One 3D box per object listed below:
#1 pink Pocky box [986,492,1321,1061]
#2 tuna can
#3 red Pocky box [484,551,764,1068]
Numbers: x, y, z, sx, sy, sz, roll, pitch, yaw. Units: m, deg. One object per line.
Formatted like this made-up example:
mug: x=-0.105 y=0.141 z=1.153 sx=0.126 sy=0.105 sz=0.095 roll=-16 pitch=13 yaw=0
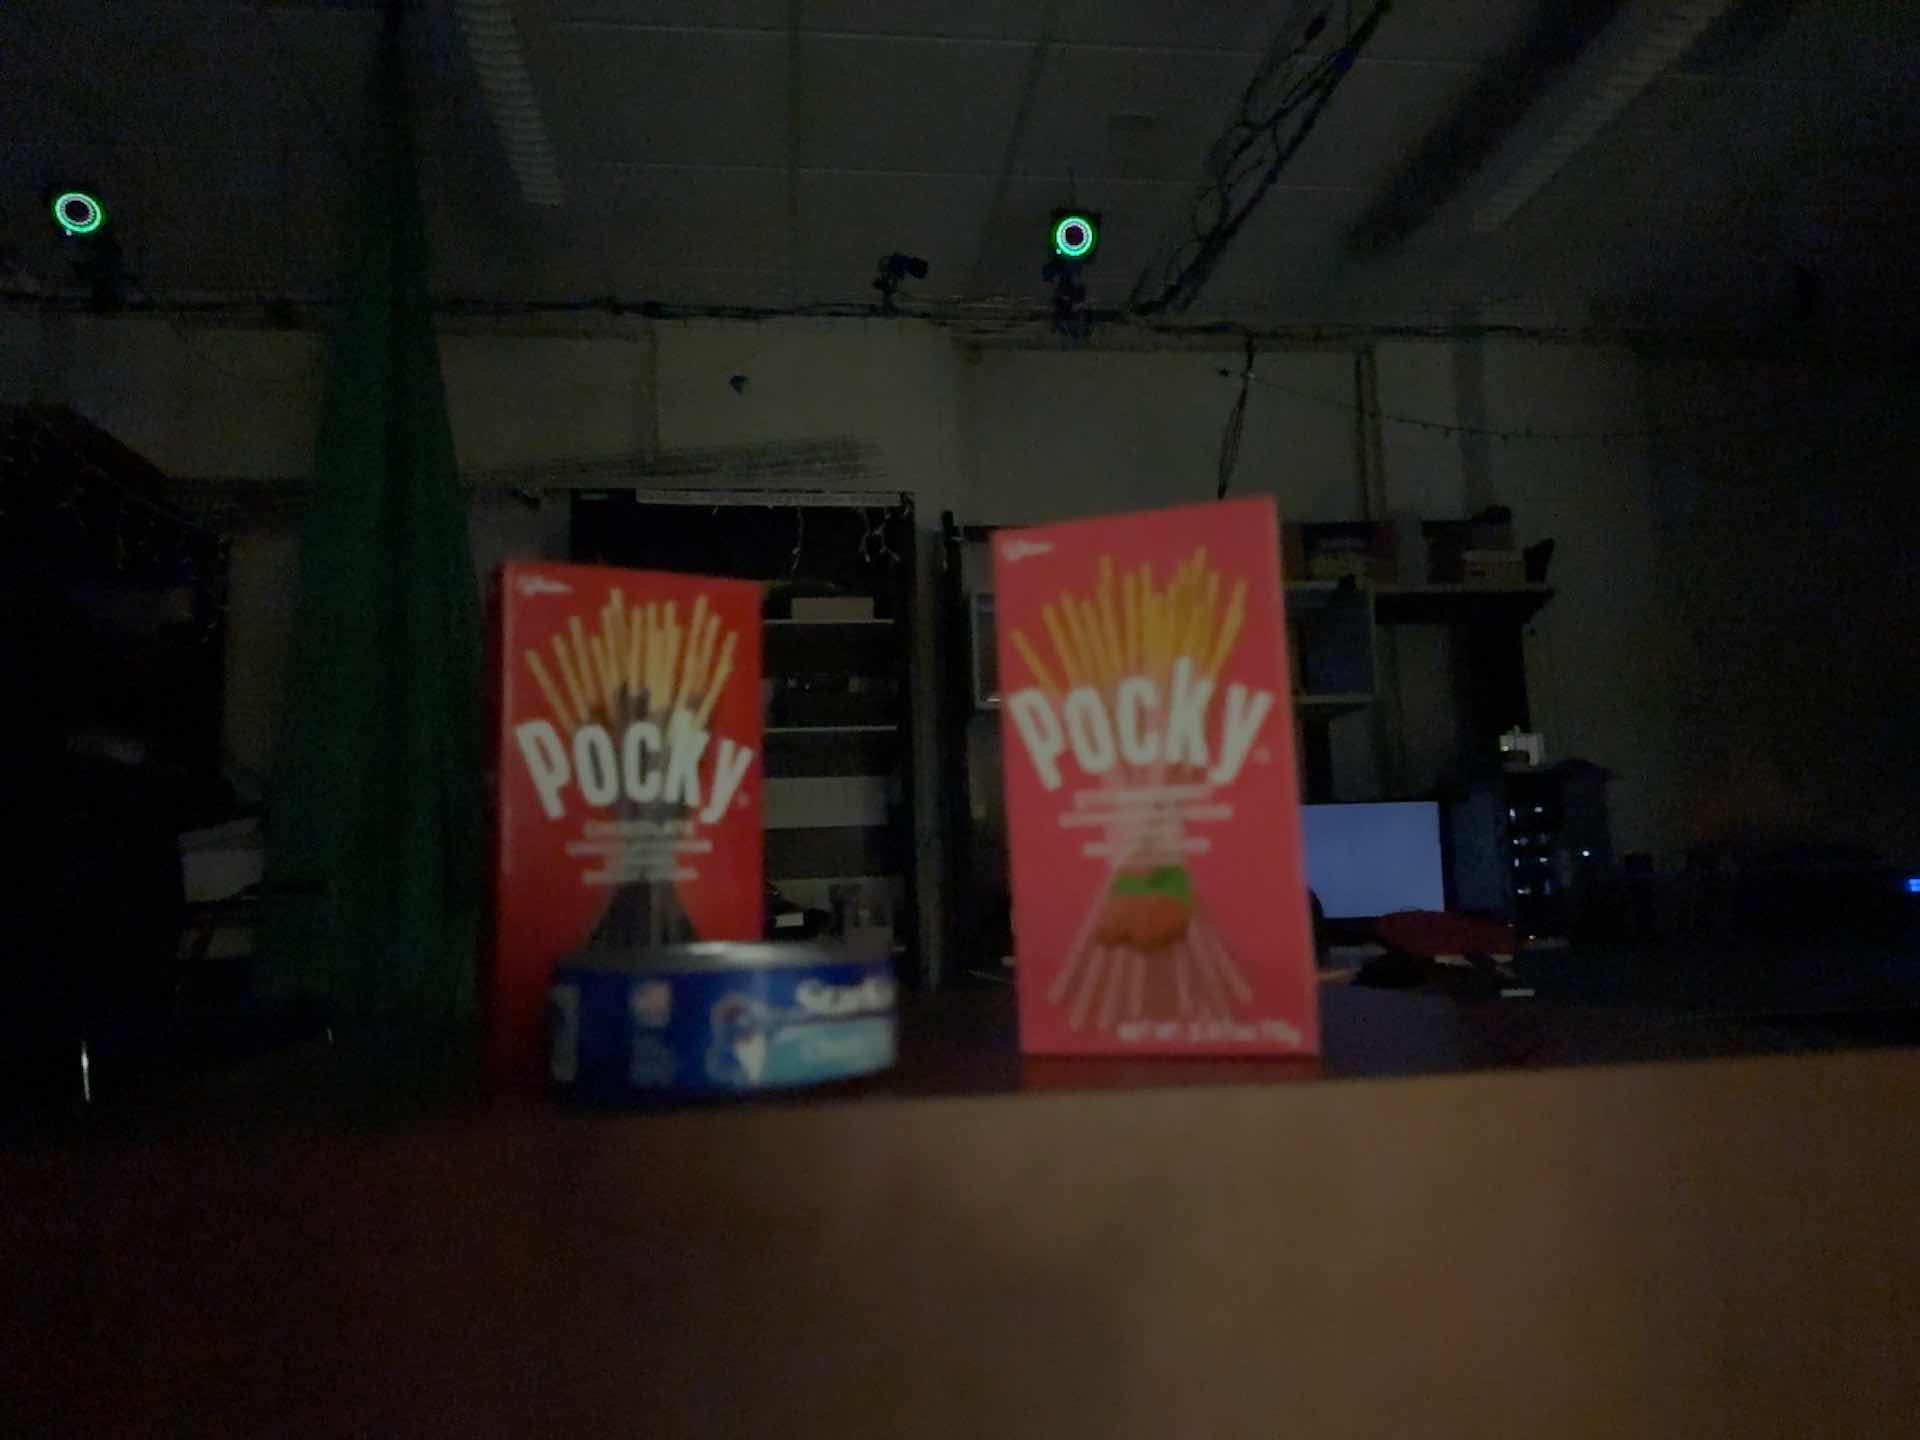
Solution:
pink Pocky box: x=0.054 y=0.017 z=0.384 sx=0.084 sy=0.155 sz=0.029 roll=-4 pitch=-5 yaw=16
tuna can: x=-0.056 y=0.073 z=0.339 sx=0.083 sy=0.034 sz=0.083 roll=-2 pitch=-6 yaw=0
red Pocky box: x=-0.104 y=0.027 z=0.420 sx=0.083 sy=0.155 sz=0.028 roll=1 pitch=-6 yaw=-23
